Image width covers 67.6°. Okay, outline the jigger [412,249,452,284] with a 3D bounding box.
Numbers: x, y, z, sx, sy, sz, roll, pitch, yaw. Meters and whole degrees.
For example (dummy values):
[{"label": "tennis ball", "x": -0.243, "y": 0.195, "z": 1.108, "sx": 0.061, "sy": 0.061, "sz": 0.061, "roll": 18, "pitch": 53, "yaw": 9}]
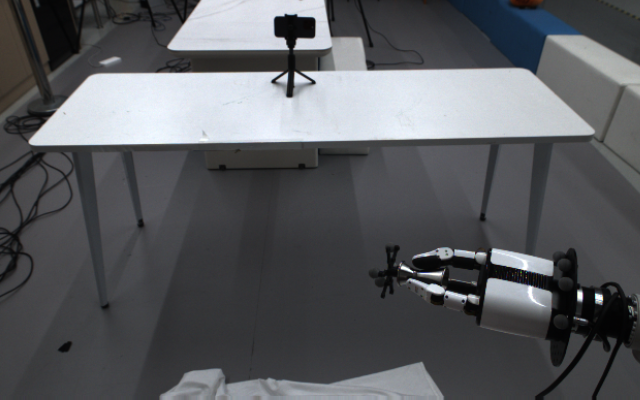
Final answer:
[{"label": "jigger", "x": 0.161, "y": 0.108, "z": 0.721, "sx": 0.071, "sy": 0.043, "sz": 0.043, "roll": 6, "pitch": 33, "yaw": 27}]
